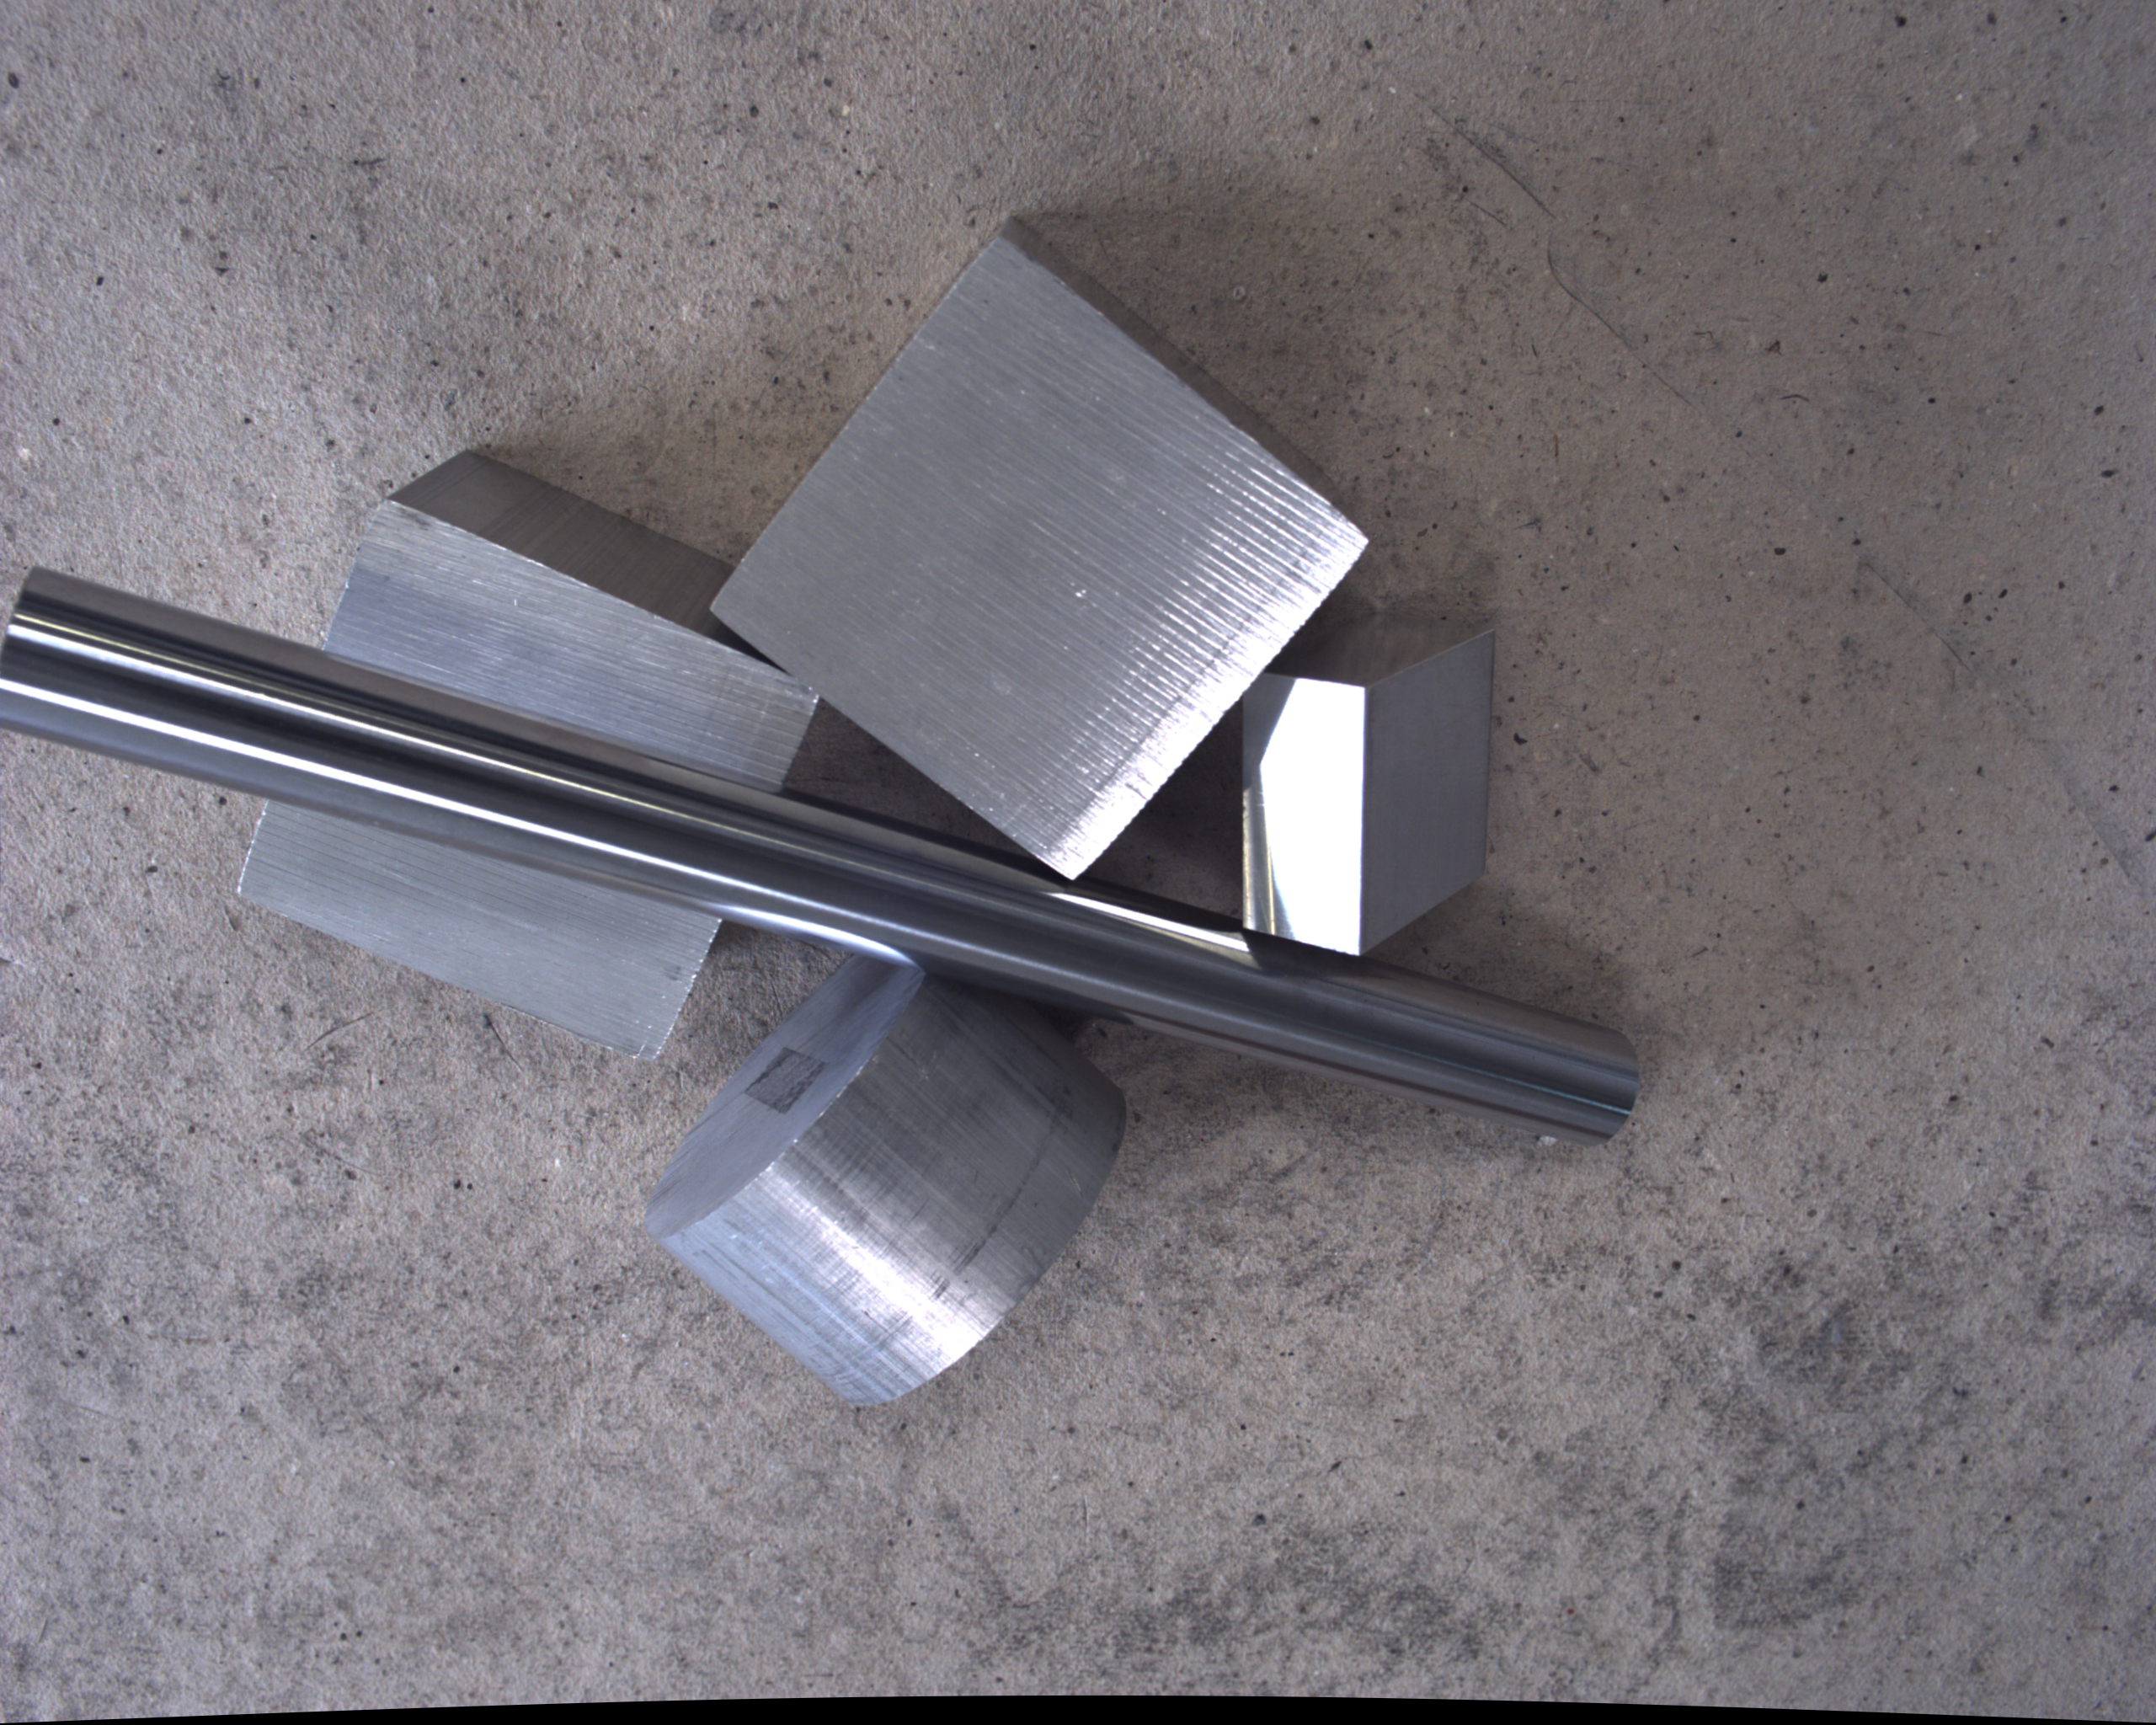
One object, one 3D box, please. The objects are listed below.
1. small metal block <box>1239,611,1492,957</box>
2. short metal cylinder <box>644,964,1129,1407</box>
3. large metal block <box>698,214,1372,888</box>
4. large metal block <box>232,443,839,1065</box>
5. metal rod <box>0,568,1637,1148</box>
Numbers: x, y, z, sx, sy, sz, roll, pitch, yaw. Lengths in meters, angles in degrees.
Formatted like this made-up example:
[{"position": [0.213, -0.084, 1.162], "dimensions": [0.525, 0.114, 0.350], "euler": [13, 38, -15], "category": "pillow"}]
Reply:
[{"position": [0.054, -0.016, 0.390], "dimensions": [0.025, 0.050, 0.050], "euler": [12, 115, 34], "category": "small metal block"}, {"position": [-0.037, 0.056, 0.401], "dimensions": [0.080, 0.080, 0.050], "euler": [-42, 105, 14], "category": "short metal cylinder"}, {"position": [-0.007, -0.057, 0.374], "dimensions": [0.080, 0.050, 0.080], "euler": [38, 106, -13], "category": "large metal block"}, {"position": [-0.097, -0.021, 0.389], "dimensions": [0.080, 0.050, 0.080], "euler": [24, 108, -9], "category": "large metal block"}, {"position": [-0.026, 0.007, 0.370], "dimensions": [0.302, 0.025, 0.025], "euler": [16, 110, -24], "category": "metal rod"}]
